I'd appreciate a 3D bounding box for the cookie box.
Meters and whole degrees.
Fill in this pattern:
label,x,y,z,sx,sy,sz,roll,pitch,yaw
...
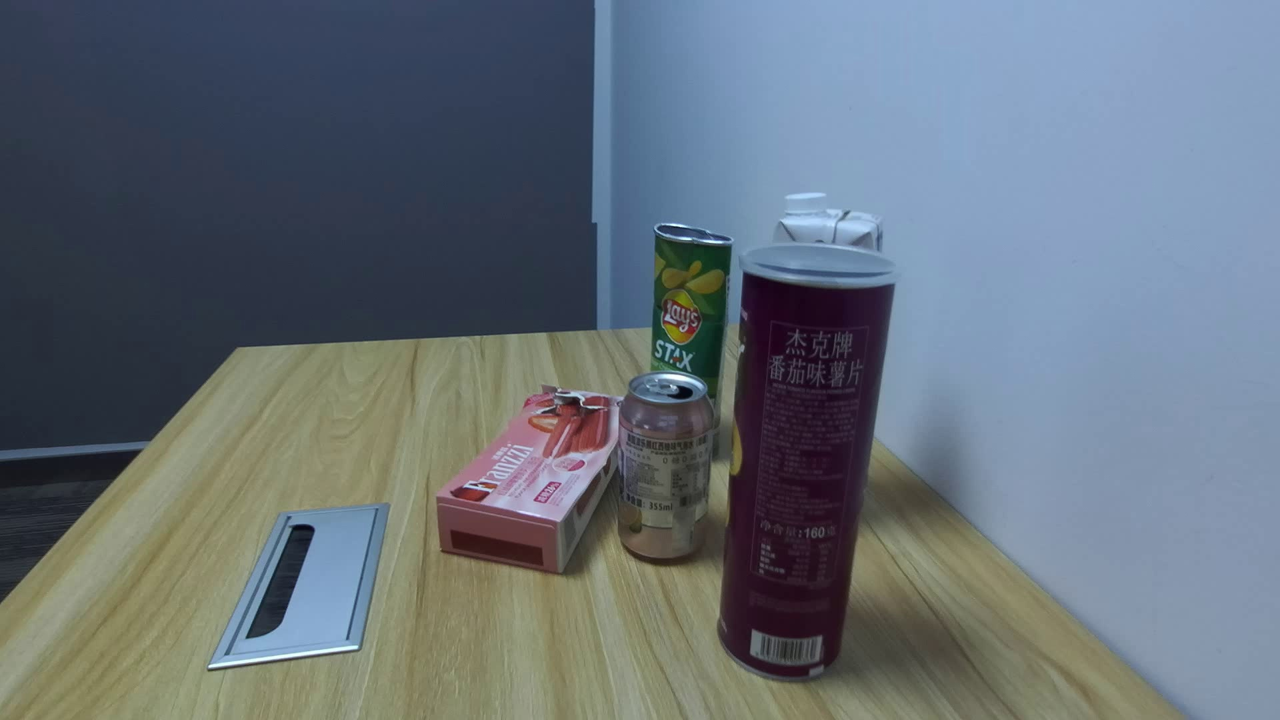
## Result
label,x,y,z,sx,sy,sz,roll,pitch,yaw
cookie box,-0.074,0.085,0.566,0.105,0.059,0.186,4,23,14

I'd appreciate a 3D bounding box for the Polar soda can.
label,x,y,z,sx,sy,sz,roll,pitch,yaw
Polar soda can,0.020,0.075,0.502,0.067,0.125,0.067,1,21,0

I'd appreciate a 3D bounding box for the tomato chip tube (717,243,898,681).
label,x,y,z,sx,sy,sz,roll,pitch,yaw
tomato chip tube,0.088,0.060,0.390,0.078,0.234,0.078,1,22,0
